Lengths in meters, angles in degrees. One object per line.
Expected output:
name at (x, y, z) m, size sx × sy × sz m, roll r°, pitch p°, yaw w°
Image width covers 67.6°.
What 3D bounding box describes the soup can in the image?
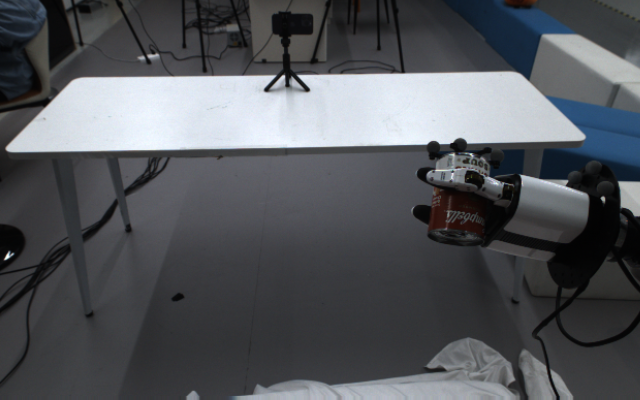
soup can at (0.175, -0.001, 0.600) m, size 0.067 × 0.067 × 0.101 m, roll 8°, pitch 72°, yaw 9°
